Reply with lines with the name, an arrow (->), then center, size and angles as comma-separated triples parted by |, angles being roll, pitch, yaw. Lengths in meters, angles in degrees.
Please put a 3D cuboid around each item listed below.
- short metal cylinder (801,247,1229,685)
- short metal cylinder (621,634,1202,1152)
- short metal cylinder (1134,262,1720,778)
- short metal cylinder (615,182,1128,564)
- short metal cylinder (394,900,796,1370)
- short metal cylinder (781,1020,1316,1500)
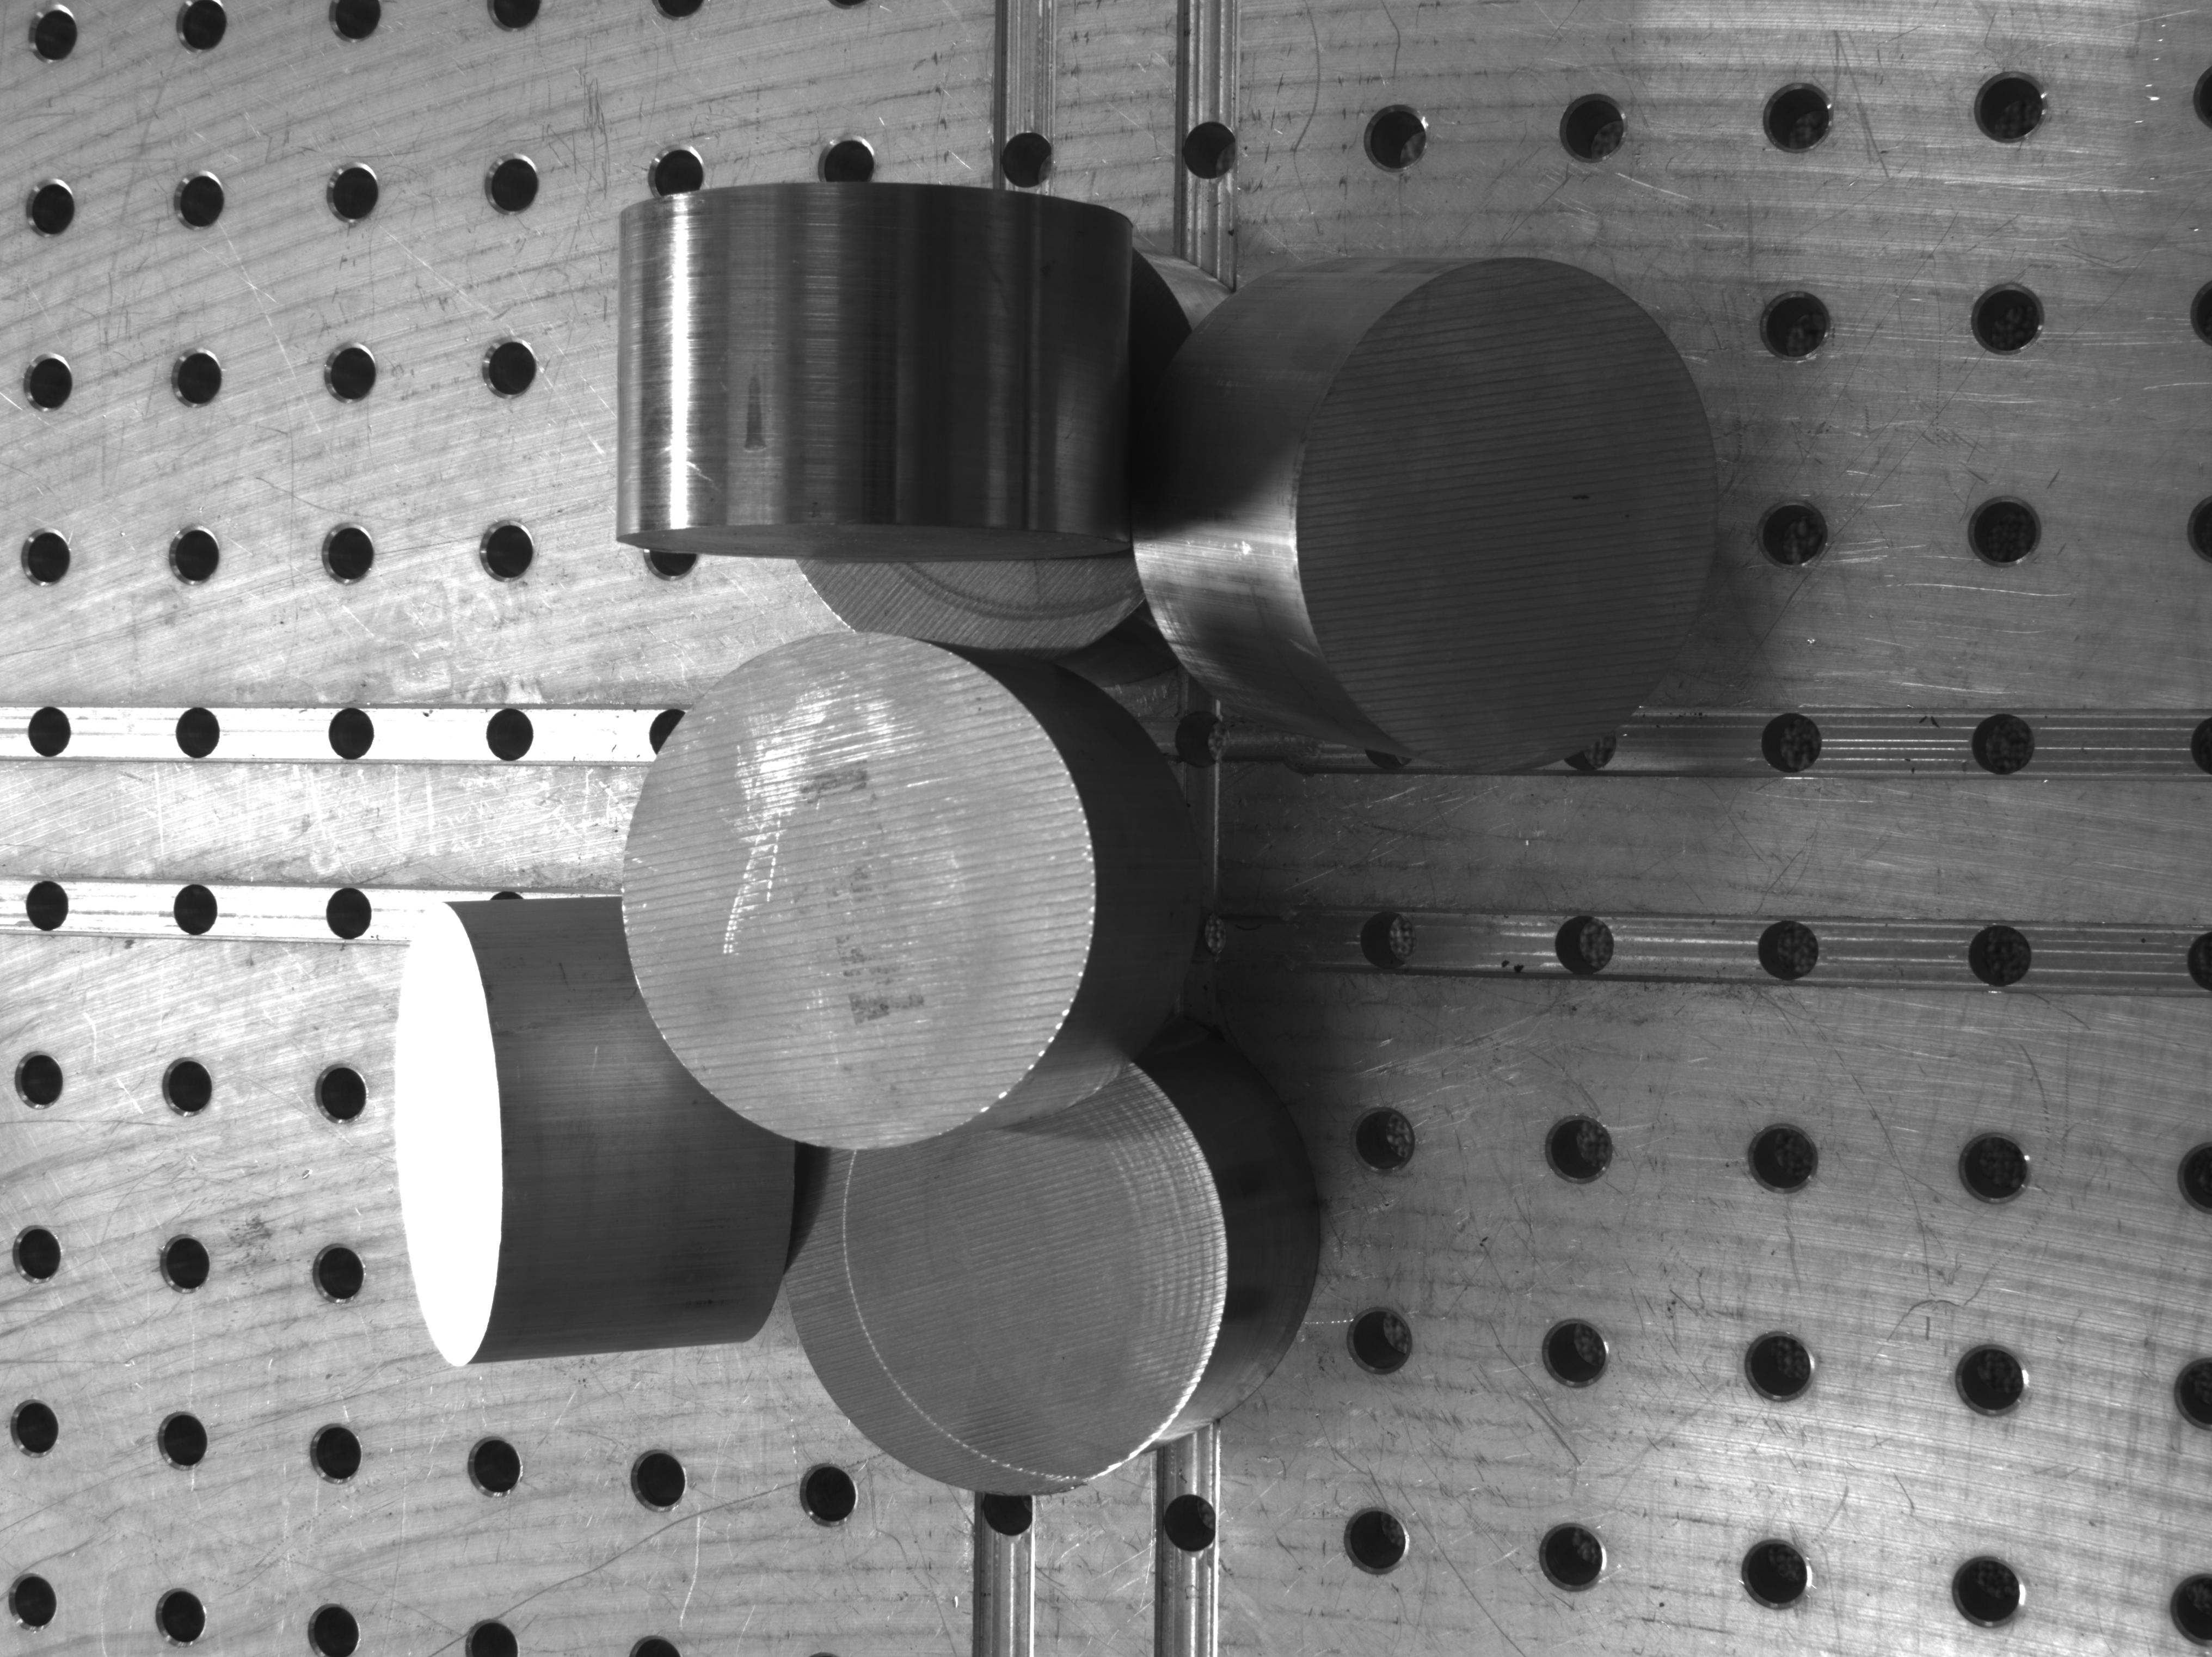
short metal cylinder -> -0.012, -0.065, 0.640 | 0.080, 0.050, 0.080 | 0, 90, 20
short metal cylinder -> -0.031, 0.010, 0.593 | 0.080, 0.050, 0.080 | 0, 90, 20
short metal cylinder -> 0.051, -0.051, 0.594 | 0.050, 0.080, 0.080 | 16, 97, 60
short metal cylinder -> -0.037, -0.069, 0.579 | 0.080, 0.080, 0.050 | 0, 90, 20
short metal cylinder -> -0.091, 0.053, 0.647 | 0.050, 0.080, 0.080 | -2, 89, -24
short metal cylinder -> -0.009, 0.072, 0.638 | 0.080, 0.050, 0.080 | 0, 91, 20
